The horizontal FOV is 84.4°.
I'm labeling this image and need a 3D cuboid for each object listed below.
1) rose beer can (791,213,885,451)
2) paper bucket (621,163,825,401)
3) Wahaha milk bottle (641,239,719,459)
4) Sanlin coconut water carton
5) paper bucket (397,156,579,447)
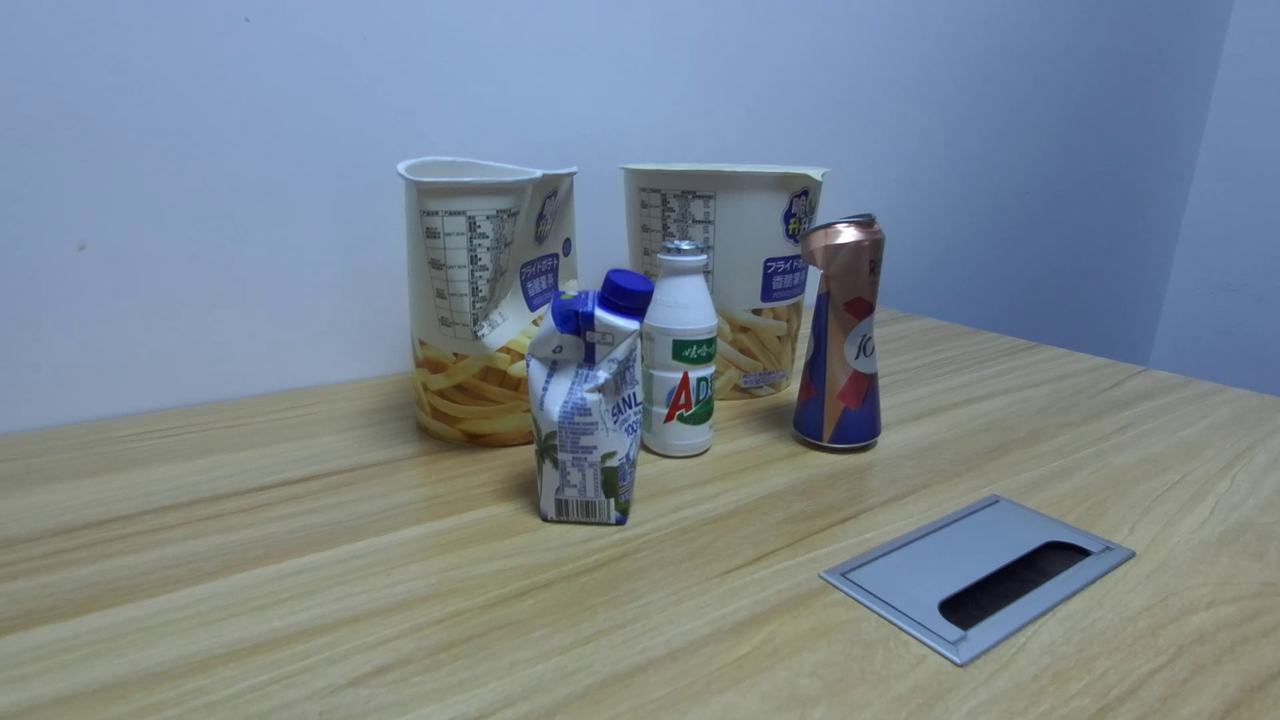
[{"bbox_3d":[0.146,-0.019,0.513,0.070,0.168,0.069,-7,15,-17],"label":"rose beer can"},{"bbox_3d":[0.073,-0.077,0.650,0.198,0.194,0.198,1,16,0],"label":"paper bucket"},{"bbox_3d":[0.027,-0.007,0.493,0.053,0.147,0.053,1,16,0],"label":"Wahaha milk bottle"},{"bbox_3d":[-0.029,0.020,0.408,0.070,0.143,0.061,3,18,4],"label":"Sanlin coconut water carton"},{"bbox_3d":[-0.105,-0.052,0.551,0.148,0.199,0.217,-5,18,-19],"label":"paper bucket"}]
